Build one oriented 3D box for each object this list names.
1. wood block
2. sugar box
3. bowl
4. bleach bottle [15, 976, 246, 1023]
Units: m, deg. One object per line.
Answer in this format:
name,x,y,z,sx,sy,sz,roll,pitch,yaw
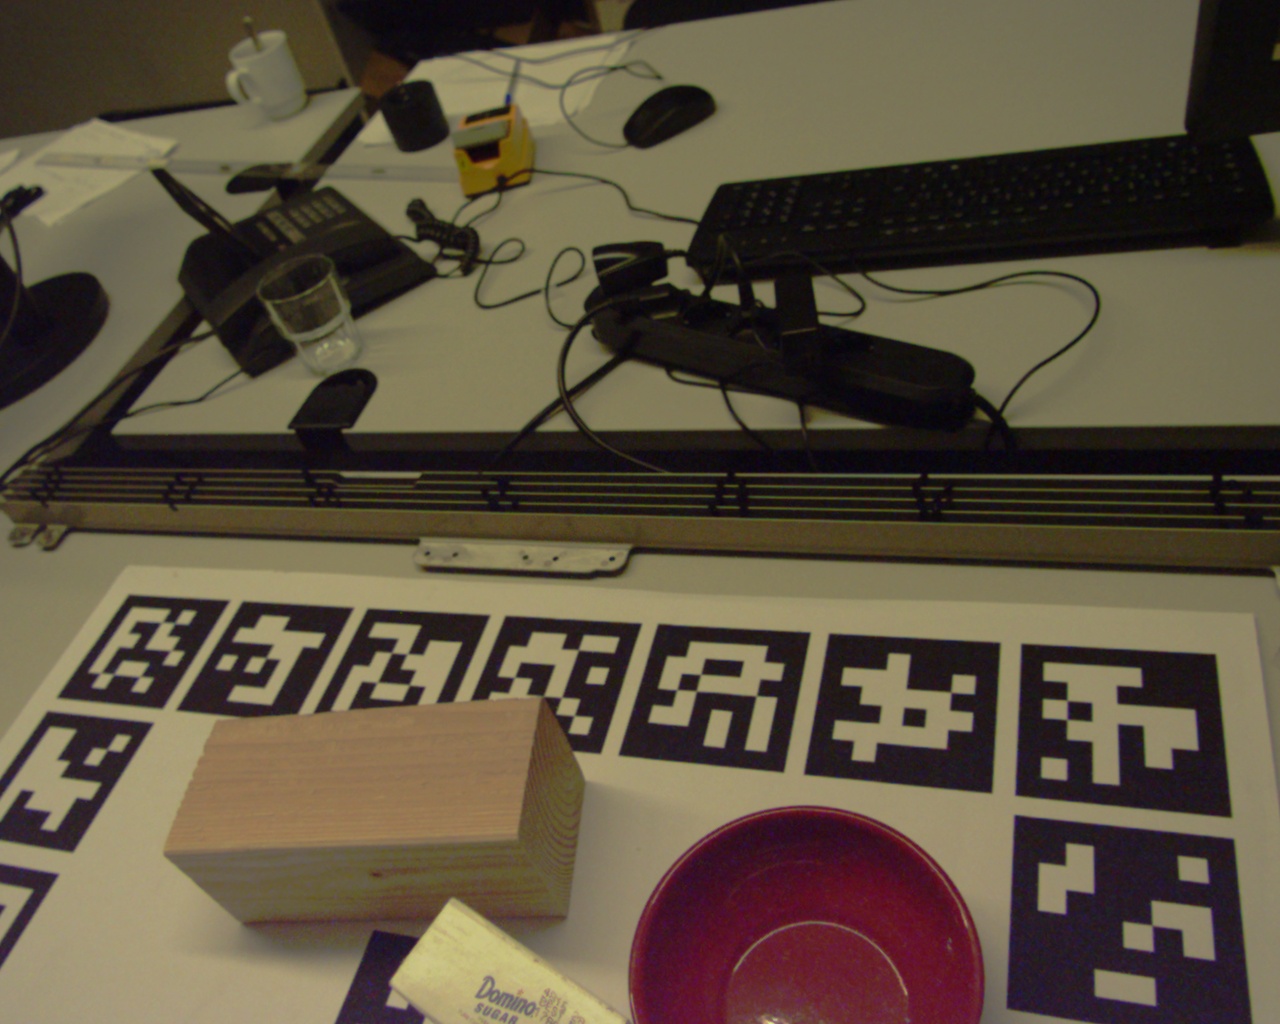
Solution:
wood block,-0.159,0.168,0.684,0.207,0.089,0.091,-6,48,14
sugar box,-0.034,0.227,0.503,0.094,0.175,0.045,17,55,38
bowl,0.077,0.213,0.569,0.162,0.055,0.162,-14,41,12
bleach bottle,-0.178,0.263,0.470,0.103,0.248,0.068,-18,41,2
